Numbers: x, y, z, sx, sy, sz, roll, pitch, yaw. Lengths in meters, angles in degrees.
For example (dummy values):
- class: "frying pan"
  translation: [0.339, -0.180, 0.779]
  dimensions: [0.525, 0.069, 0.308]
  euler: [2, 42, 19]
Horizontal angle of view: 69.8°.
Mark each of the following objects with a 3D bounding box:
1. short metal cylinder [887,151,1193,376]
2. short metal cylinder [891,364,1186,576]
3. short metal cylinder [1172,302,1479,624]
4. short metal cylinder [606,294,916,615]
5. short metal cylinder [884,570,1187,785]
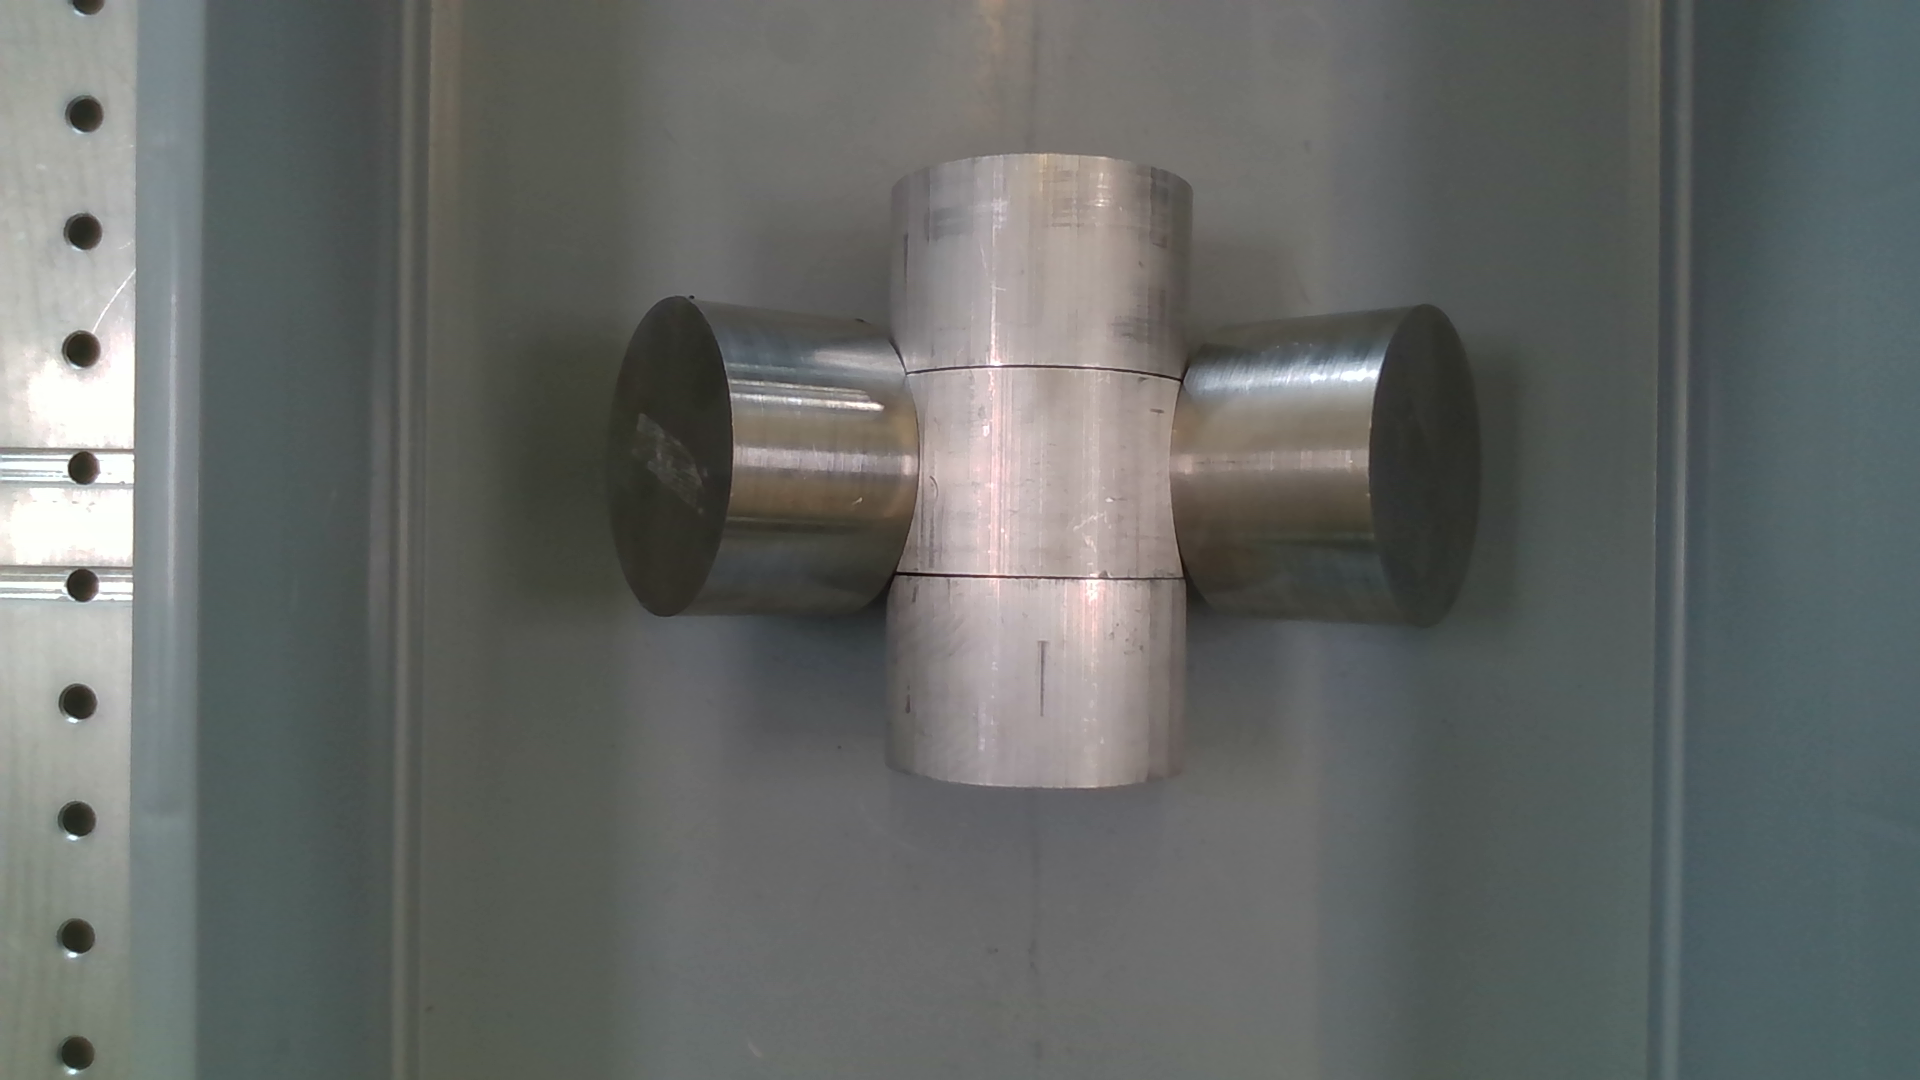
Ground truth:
- class: "short metal cylinder"
  translation: [0.021, -0.067, 0.367]
  dimensions: [0.080, 0.080, 0.050]
  euler: [1, 90, 0]
- class: "short metal cylinder"
  translation: [0.020, -0.016, 0.367]
  dimensions: [0.080, 0.080, 0.050]
  euler: [1, 90, 0]
- class: "short metal cylinder"
  translation: [0.097, -0.020, 0.359]
  dimensions: [0.050, 0.080, 0.080]
  euler: [2, 90, 38]
- class: "short metal cylinder"
  translation: [-0.054, -0.021, 0.359]
  dimensions: [0.050, 0.080, 0.080]
  euler: [0, 90, -34]
- class: "short metal cylinder"
  translation: [0.020, 0.034, 0.367]
  dimensions: [0.080, 0.080, 0.050]
  euler: [1, 90, 0]
